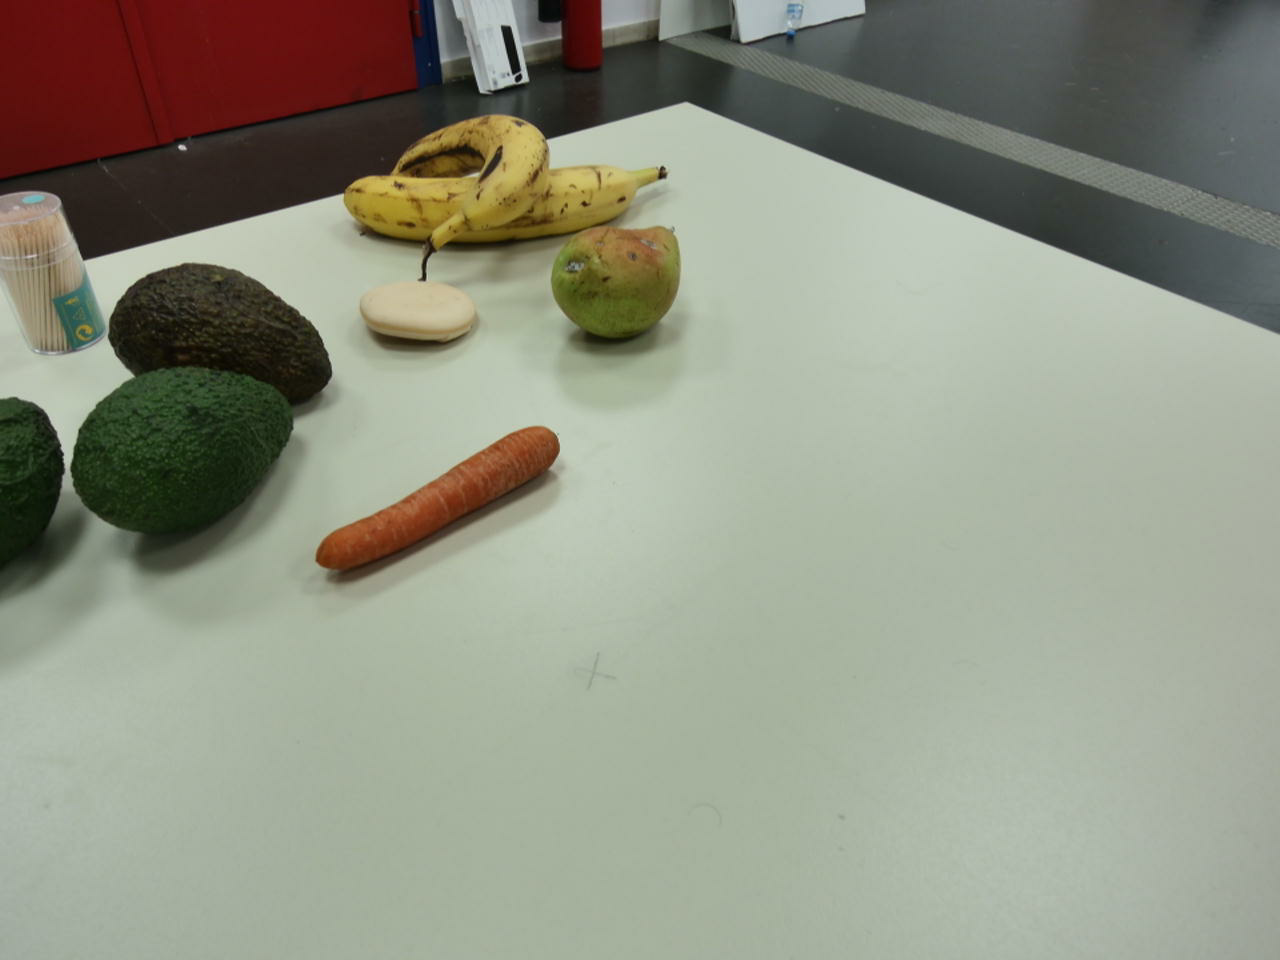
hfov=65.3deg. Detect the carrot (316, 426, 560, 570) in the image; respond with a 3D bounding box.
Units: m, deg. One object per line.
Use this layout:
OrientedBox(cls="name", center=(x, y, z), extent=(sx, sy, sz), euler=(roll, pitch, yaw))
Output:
OrientedBox(cls="carrot", center=(-0.084, 0.006, 0.433), extent=(0.122, 0.023, 0.024), euler=(-28, 46, -33))
